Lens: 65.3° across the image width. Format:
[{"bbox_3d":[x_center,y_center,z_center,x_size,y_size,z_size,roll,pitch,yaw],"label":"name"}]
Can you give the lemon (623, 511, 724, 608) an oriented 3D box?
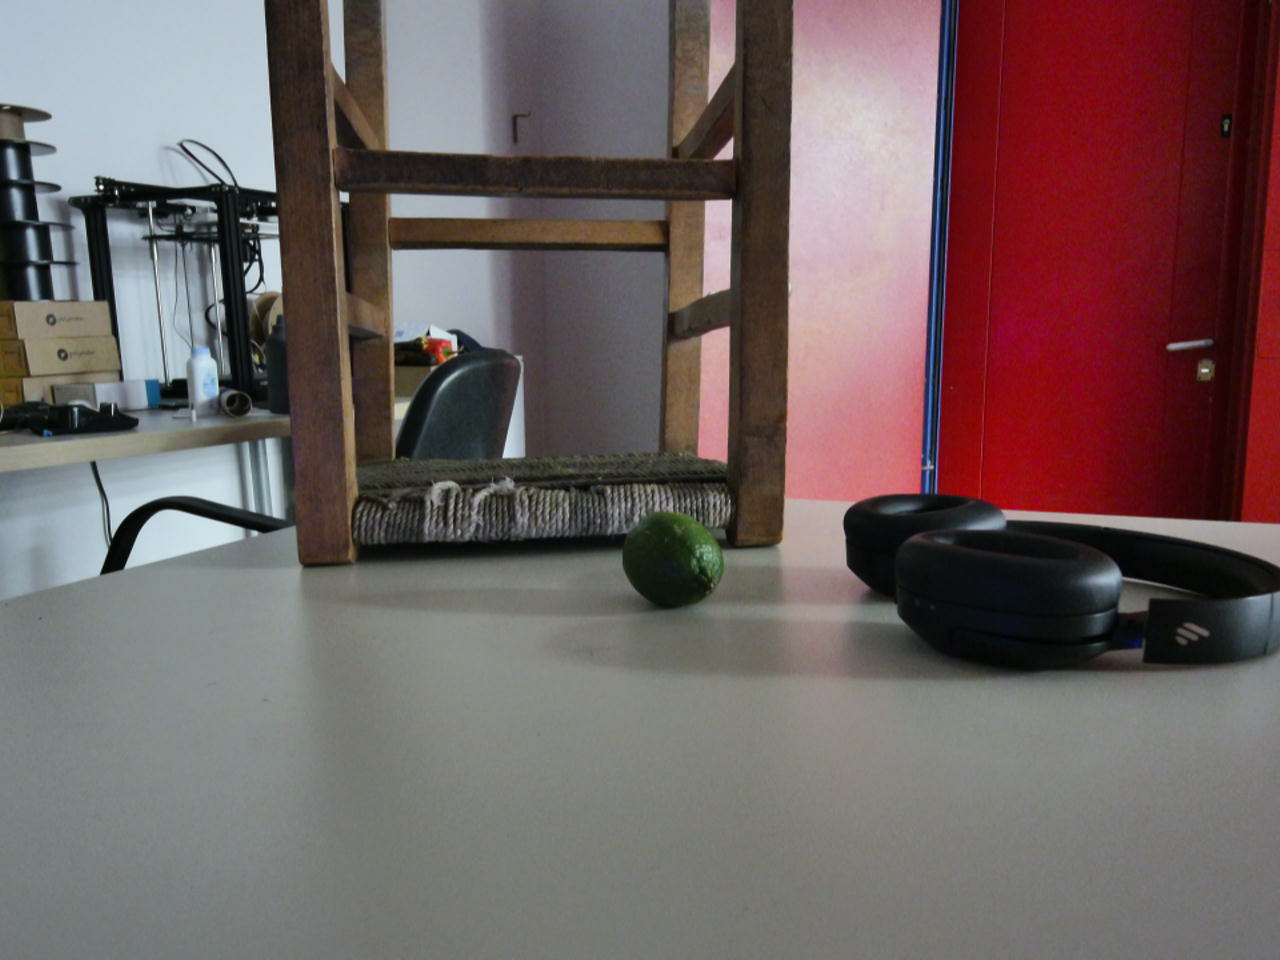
[{"bbox_3d":[0.019,0.043,0.547,0.057,0.051,0.054,2,7,20],"label":"lemon"}]
